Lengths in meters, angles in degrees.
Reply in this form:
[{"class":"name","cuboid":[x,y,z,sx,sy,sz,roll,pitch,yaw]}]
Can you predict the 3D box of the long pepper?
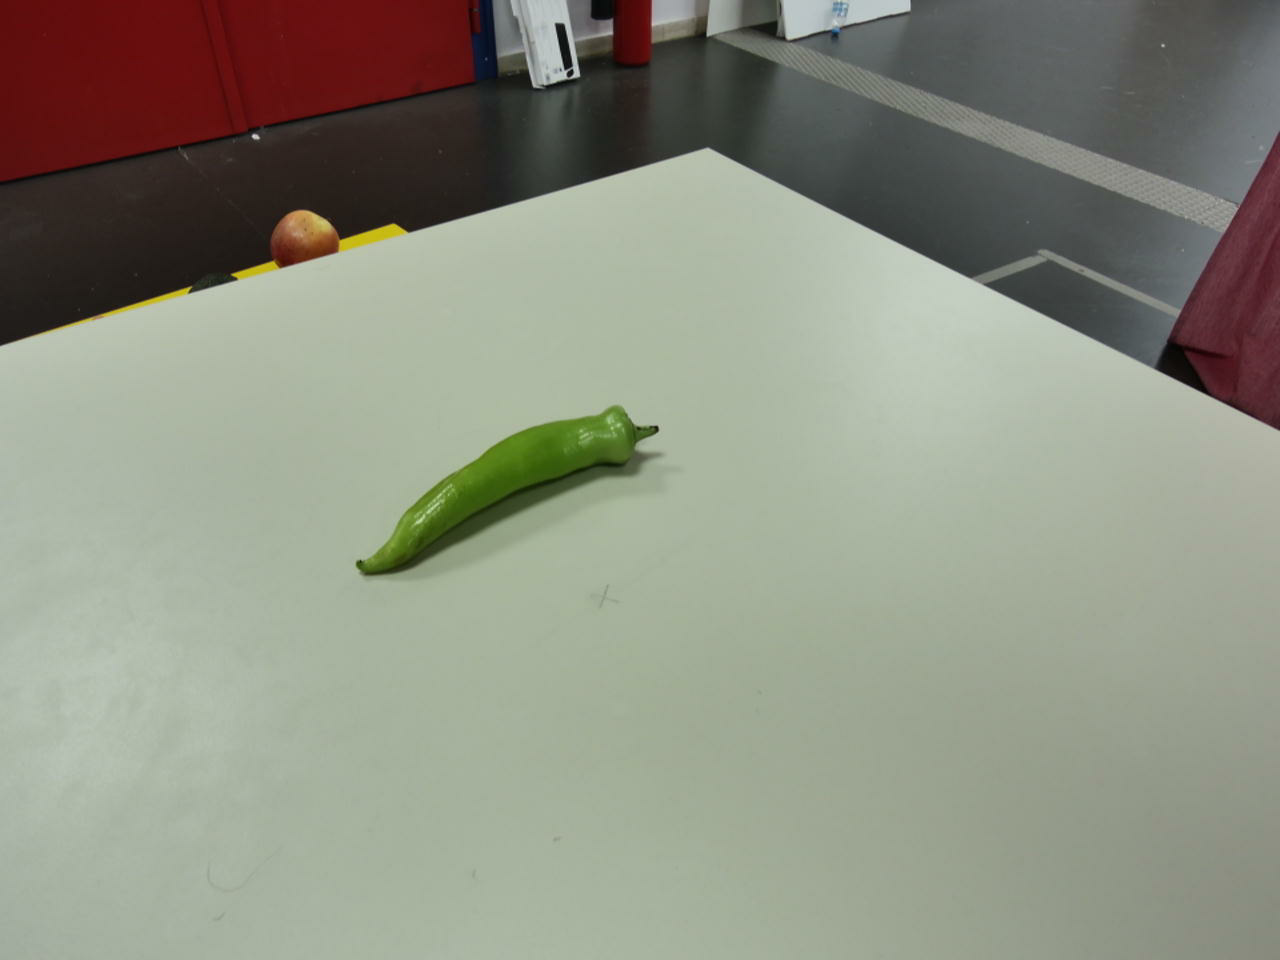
[{"class":"long pepper","cuboid":[-0.078,-0.003,0.578,0.197,0.038,0.047,-23,44,-27]}]
